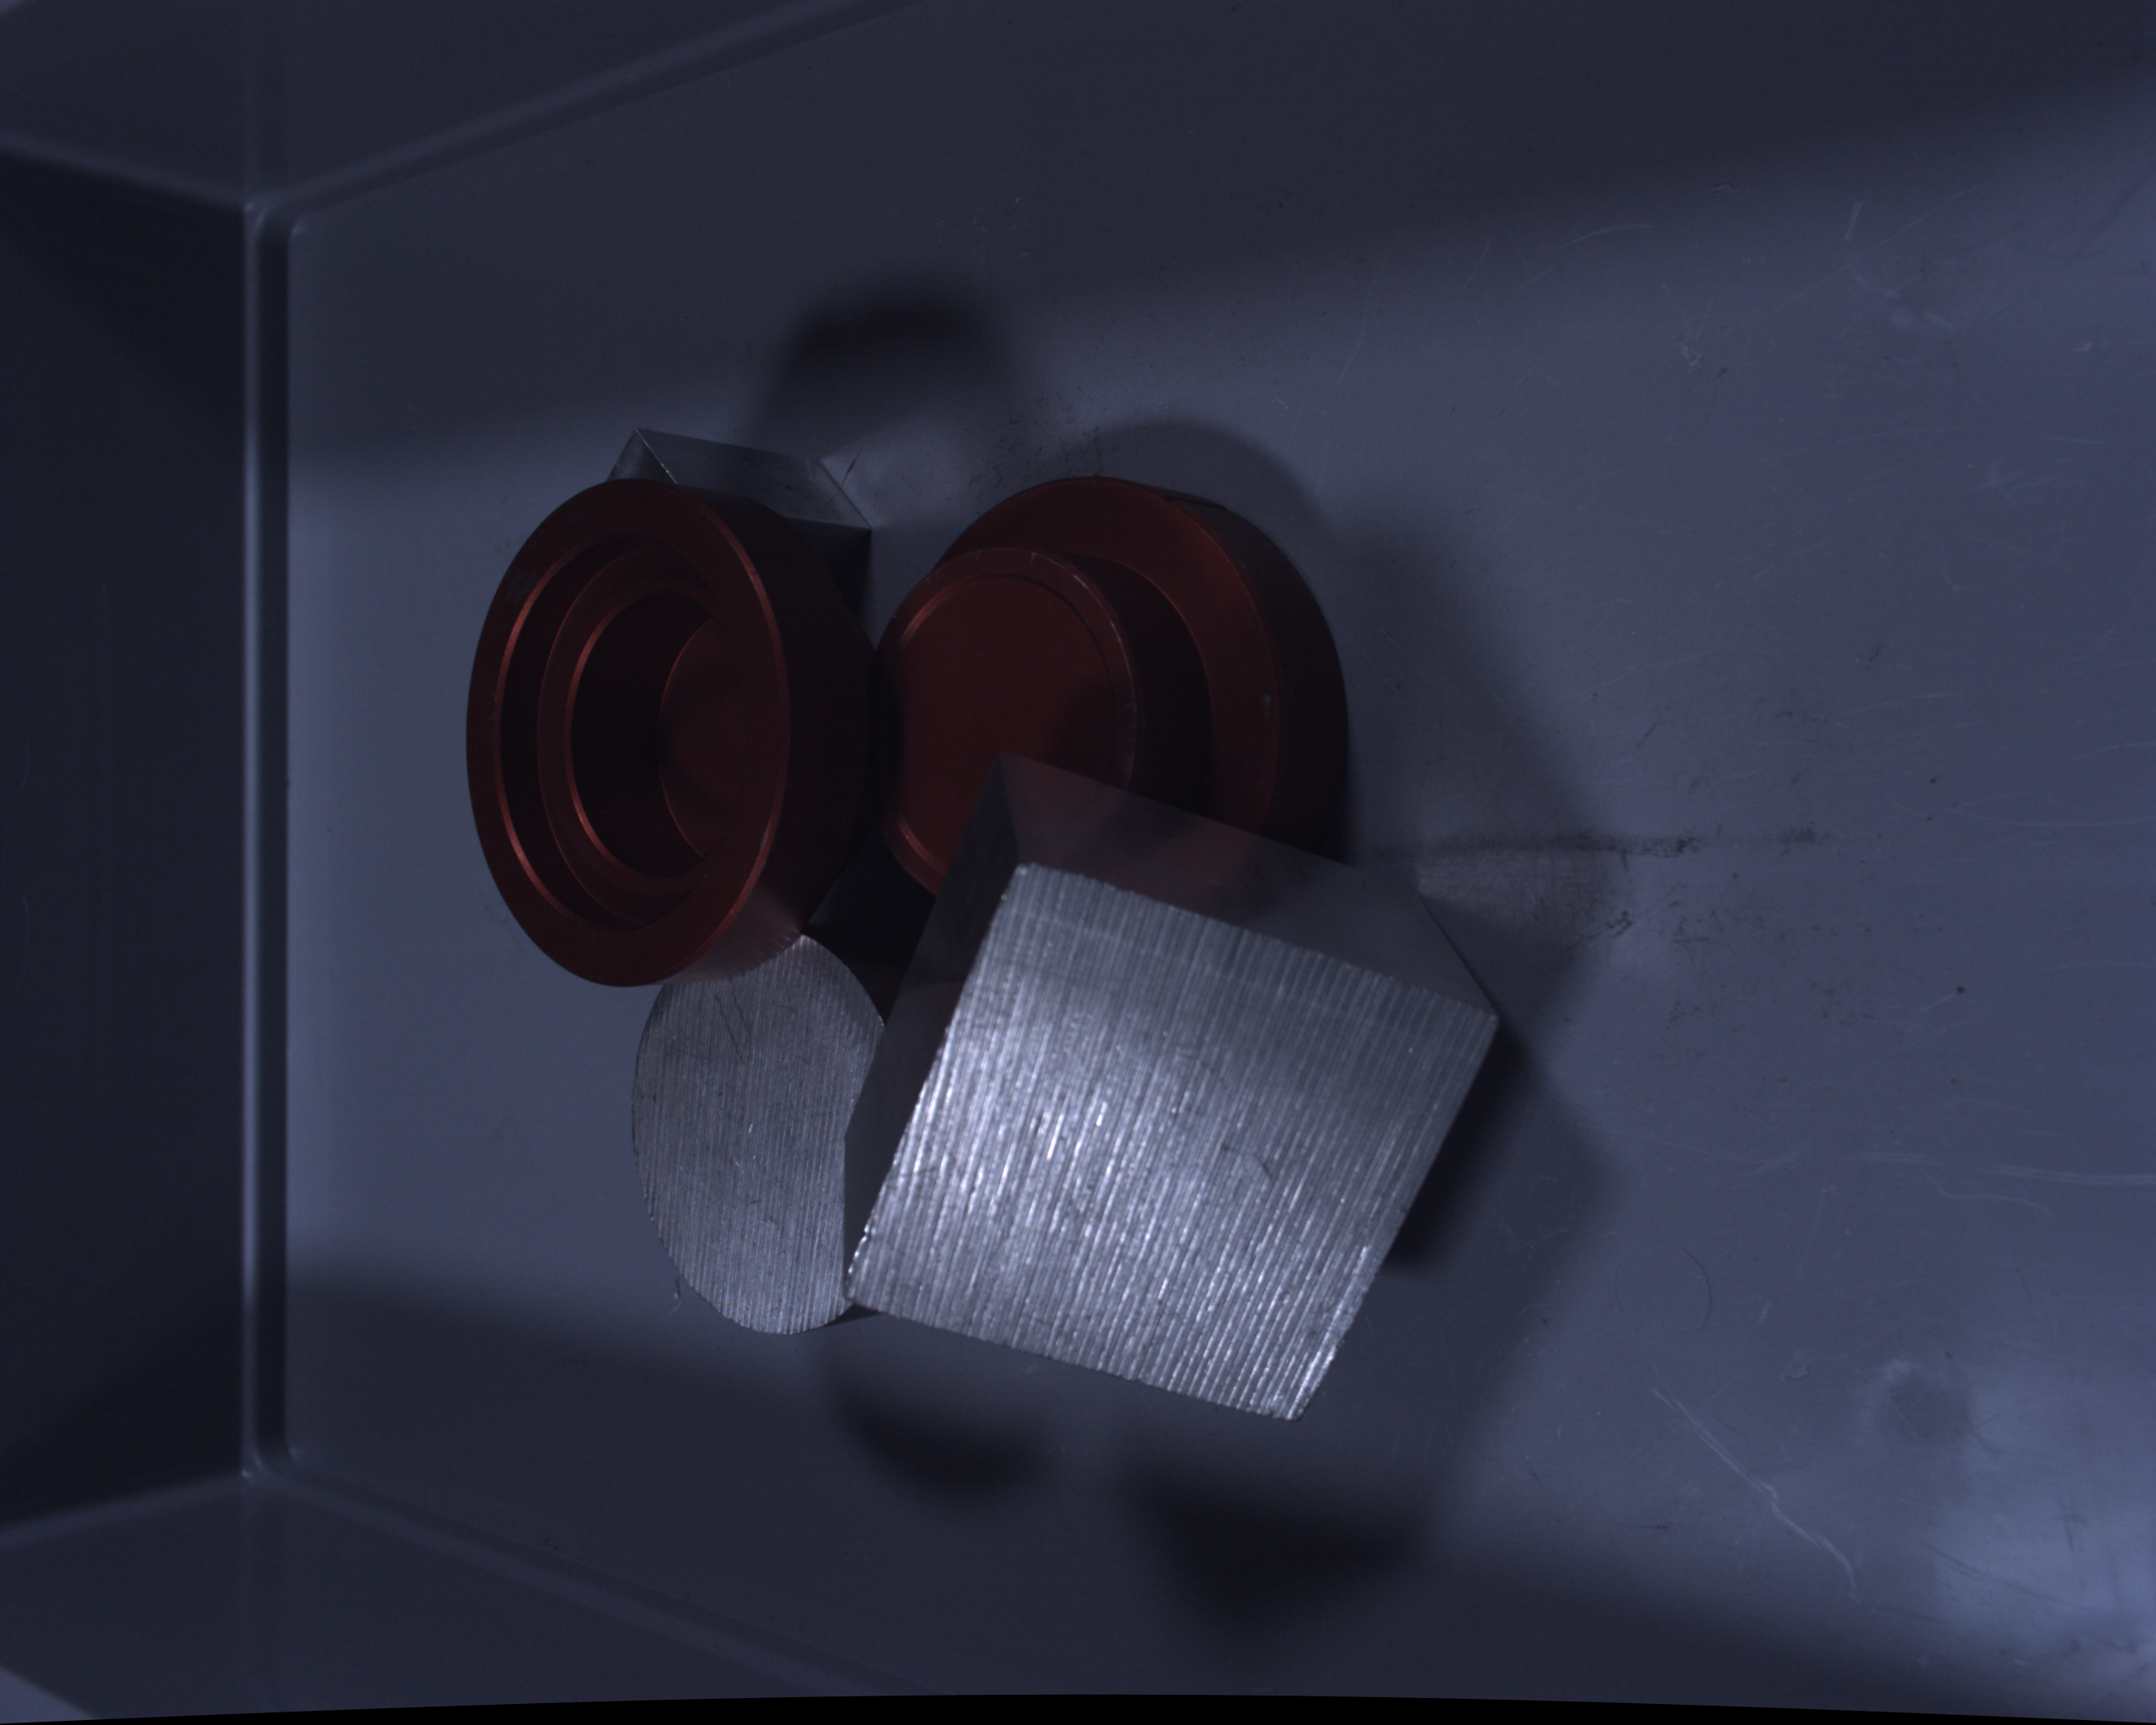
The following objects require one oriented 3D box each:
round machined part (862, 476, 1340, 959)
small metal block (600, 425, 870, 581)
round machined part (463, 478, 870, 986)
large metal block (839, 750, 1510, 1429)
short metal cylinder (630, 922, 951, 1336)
[{"bbox_3d":[-0.003,-0.024,0.392,0.098,0.042,0.097,0,90,39],"label":"round machined part"},{"bbox_3d":[-0.082,-0.064,0.453,0.025,0.050,0.050,52,120,27],"label":"small metal block"},{"bbox_3d":[-0.076,-0.025,0.416,0.098,0.042,0.097,0,90,39],"label":"round machined part"},{"bbox_3d":[0.012,0.038,0.348,0.050,0.080,0.079,-106,37,-68],"label":"large metal block"},{"bbox_3d":[-0.045,0.051,0.424,0.080,0.050,0.079,0,90,39],"label":"short metal cylinder"}]
